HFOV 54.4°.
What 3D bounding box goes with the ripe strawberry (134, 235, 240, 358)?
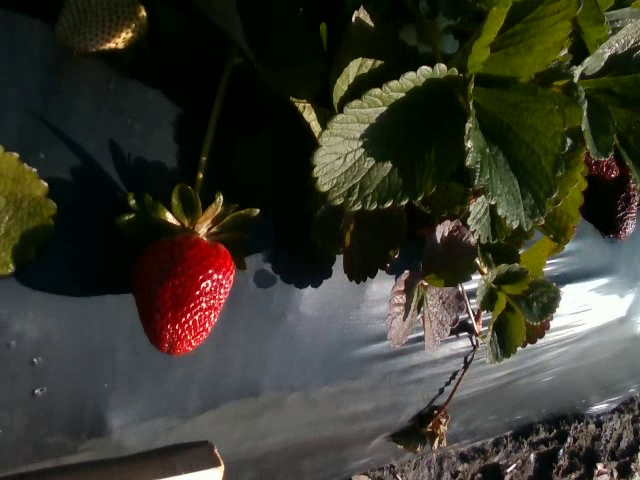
[{"bbox_3d":[-0.053,0.023,0.233,0.043,0.050,0.042,-14,-37,30],"label":"ripe strawberry"}]
